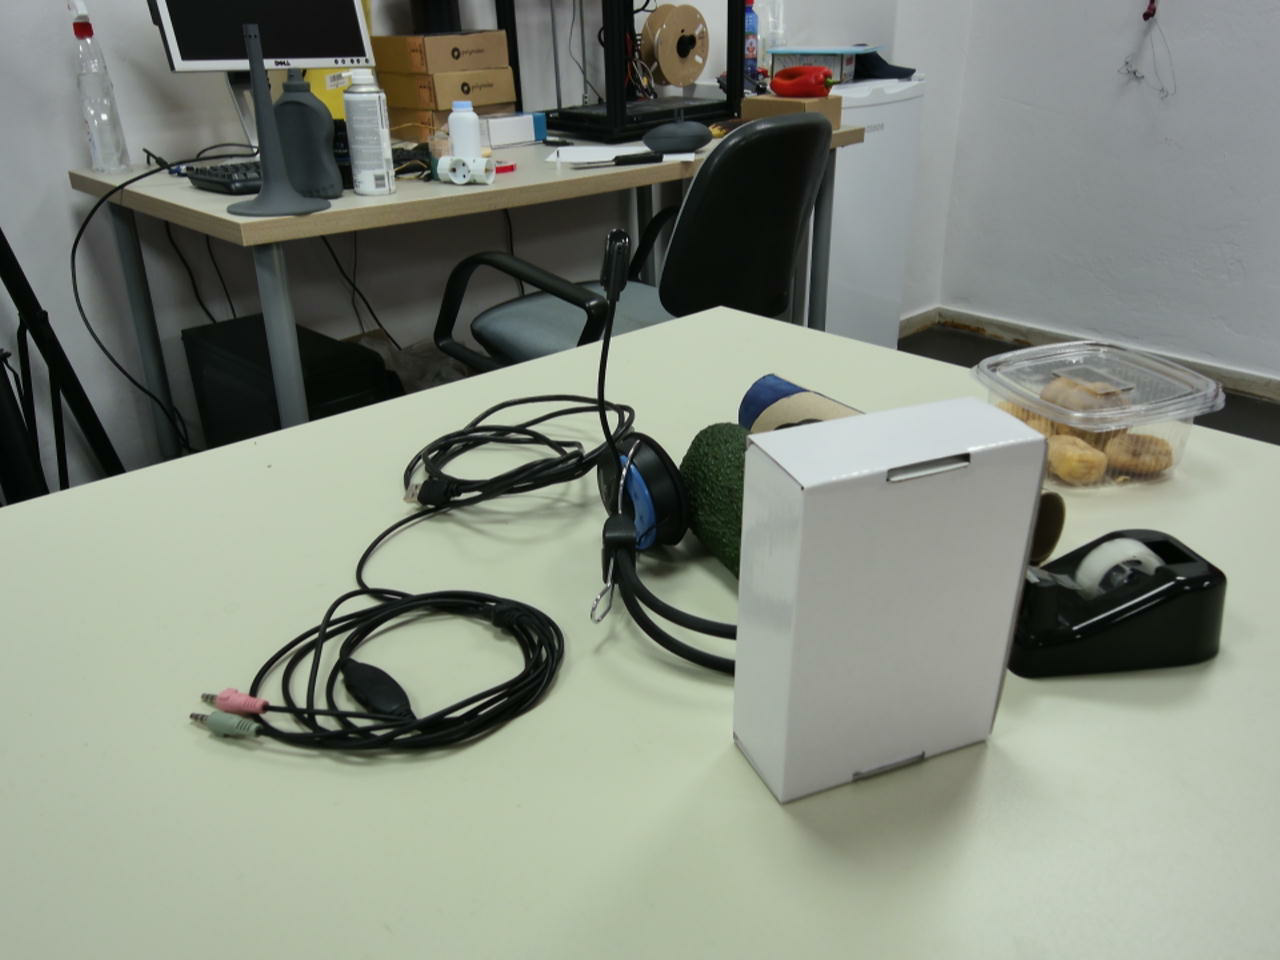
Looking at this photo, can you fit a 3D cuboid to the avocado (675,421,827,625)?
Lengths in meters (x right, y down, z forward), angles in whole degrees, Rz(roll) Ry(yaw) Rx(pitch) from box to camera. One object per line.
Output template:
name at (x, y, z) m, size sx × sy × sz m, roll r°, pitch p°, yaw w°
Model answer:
avocado at (0.064, 0.015, 0.524) m, size 0.063 × 0.067 × 0.141 m, roll -12°, pitch 25°, yaw -24°
